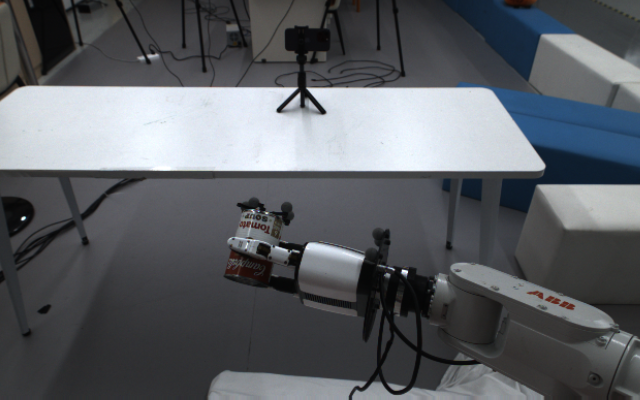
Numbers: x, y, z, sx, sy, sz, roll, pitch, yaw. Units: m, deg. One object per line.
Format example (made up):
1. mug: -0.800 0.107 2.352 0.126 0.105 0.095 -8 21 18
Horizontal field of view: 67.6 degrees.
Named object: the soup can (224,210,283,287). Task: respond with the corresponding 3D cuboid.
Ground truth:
1. soup can: -0.096 0.073 0.715 0.067 0.067 0.101 9 72 10
